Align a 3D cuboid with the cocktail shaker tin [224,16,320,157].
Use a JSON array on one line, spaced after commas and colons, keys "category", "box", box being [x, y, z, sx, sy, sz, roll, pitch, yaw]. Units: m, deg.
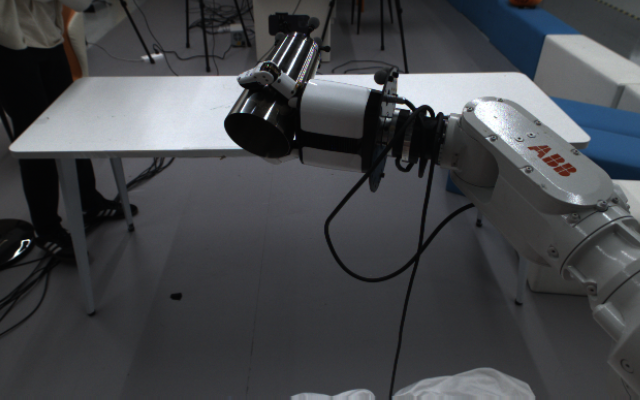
[{"category": "cocktail shaker tin", "box": [-0.058, -0.153, 0.673, 0.093, 0.093, 0.170, 13, 61, 16]}]
